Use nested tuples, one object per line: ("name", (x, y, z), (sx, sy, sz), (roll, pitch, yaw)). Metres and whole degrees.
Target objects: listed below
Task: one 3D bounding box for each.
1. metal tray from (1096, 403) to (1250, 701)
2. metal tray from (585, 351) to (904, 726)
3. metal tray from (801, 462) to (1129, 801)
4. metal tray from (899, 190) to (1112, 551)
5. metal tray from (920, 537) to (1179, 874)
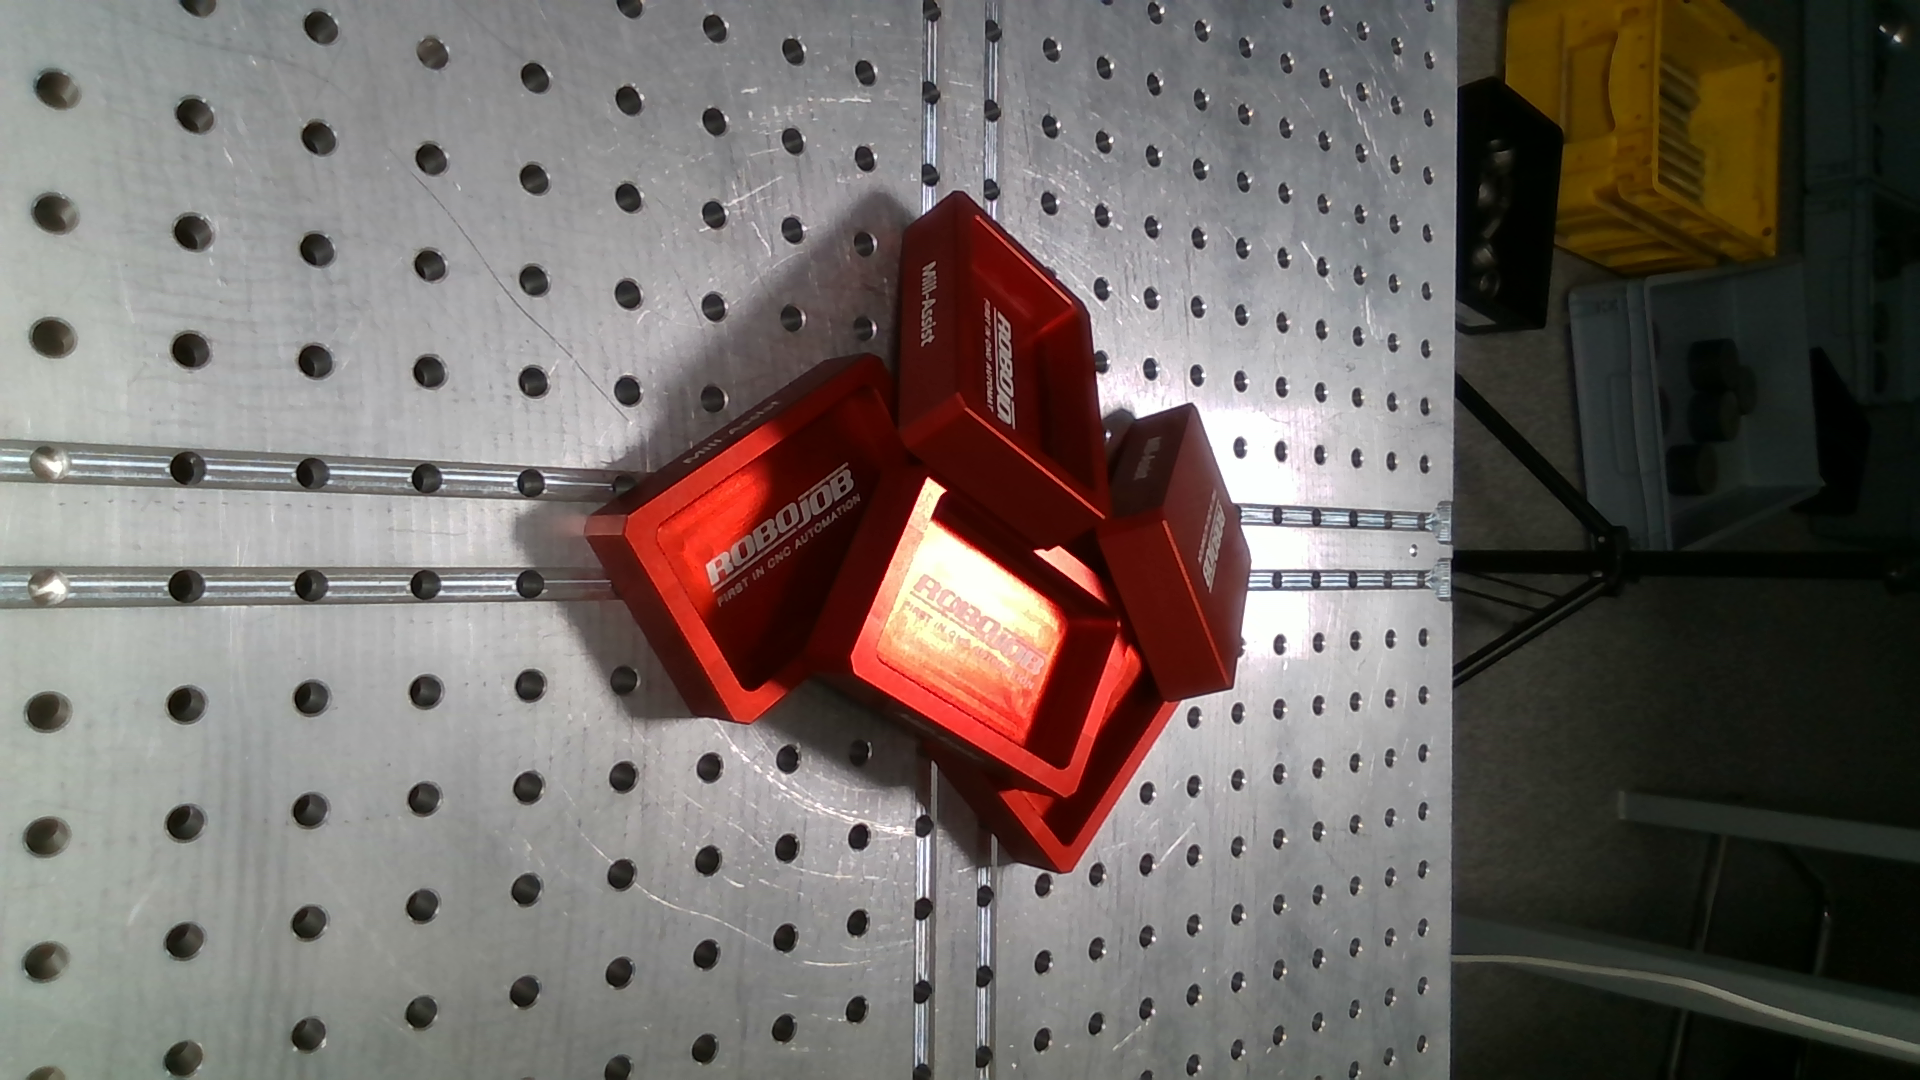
("metal tray", (0.101, 0.002, 0.628), (0.090, 0.030, 0.130), (66, 24, -19))
("metal tray", (-0.066, -0.003, 0.527), (0.130, 0.030, 0.090), (-40, 115, -33))
("metal tray", (0.008, 0.038, 0.551), (0.130, 0.030, 0.090), (35, 68, -35))
("metal tray", (0.018, -0.070, 0.558), (0.090, 0.030, 0.130), (35, 38, -35))
("metal tray", (0.049, 0.072, 0.624), (0.130, 0.030, 0.090), (-51, 120, -28))
